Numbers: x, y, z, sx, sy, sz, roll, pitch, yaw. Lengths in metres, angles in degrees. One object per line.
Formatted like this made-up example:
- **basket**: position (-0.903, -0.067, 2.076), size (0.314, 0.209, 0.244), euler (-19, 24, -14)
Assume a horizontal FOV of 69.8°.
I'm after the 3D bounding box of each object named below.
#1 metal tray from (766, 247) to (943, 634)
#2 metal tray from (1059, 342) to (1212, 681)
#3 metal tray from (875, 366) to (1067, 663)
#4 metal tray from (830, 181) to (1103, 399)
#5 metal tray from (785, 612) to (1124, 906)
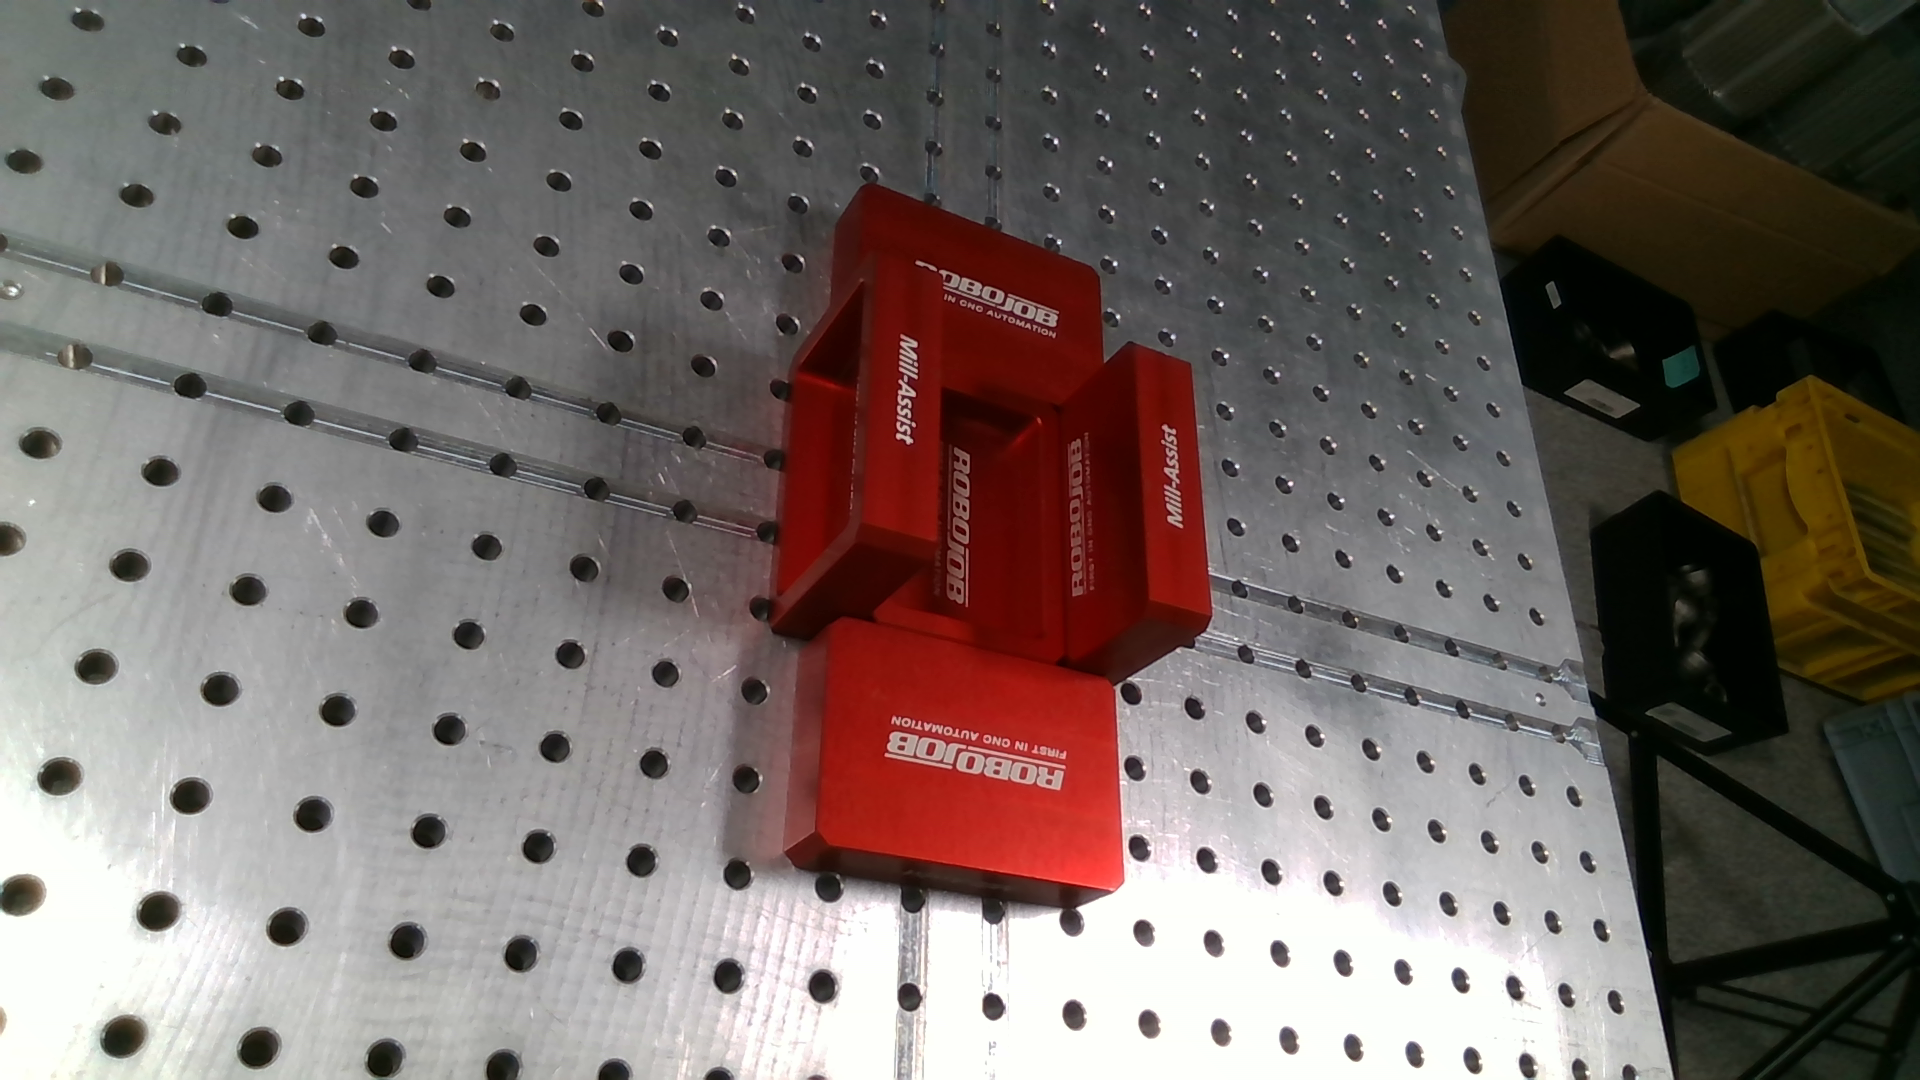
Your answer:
- **metal tray**: position (-0.041, -0.037, 0.540), size (0.030, 0.090, 0.130), euler (15, 58, -24)
- **metal tray**: position (0.064, -0.008, 0.591), size (0.030, 0.090, 0.130), euler (15, 58, -24)
- **metal tray**: position (-0.002, -0.010, 0.587), size (0.090, 0.030, 0.130), euler (15, 58, -25)
- **metal tray**: position (0.004, -0.105, 0.644), size (0.130, 0.030, 0.090), euler (15, 58, -24)
- **metal tray**: position (0.001, 0.087, 0.537), size (0.130, 0.030, 0.090), euler (15, 59, -24)
